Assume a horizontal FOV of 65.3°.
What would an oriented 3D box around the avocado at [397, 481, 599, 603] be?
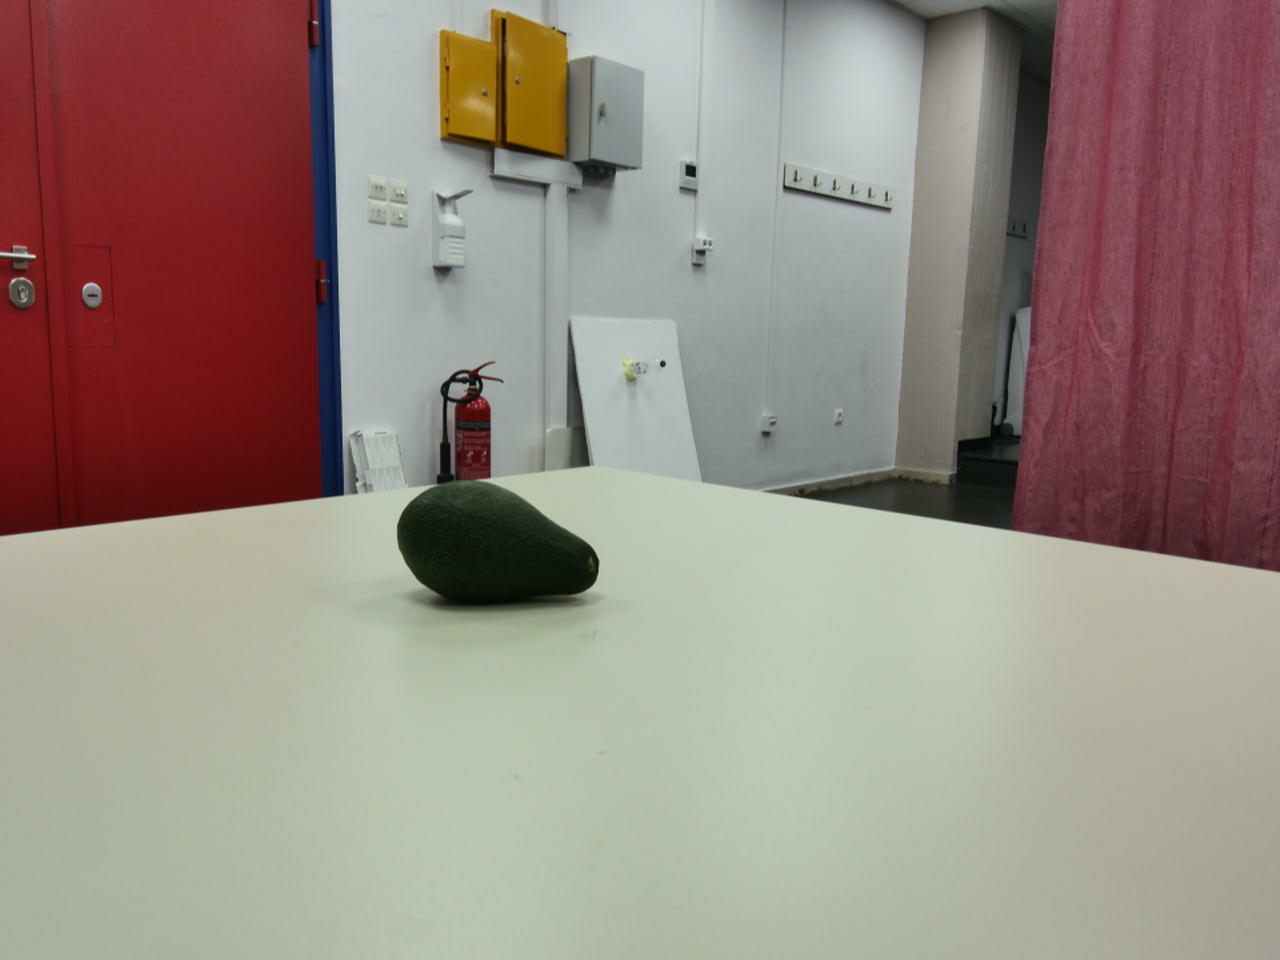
[{"bbox_3d":[-0.084,0.036,0.579,0.110,0.071,0.072,3,8,19],"label":"avocado"}]
